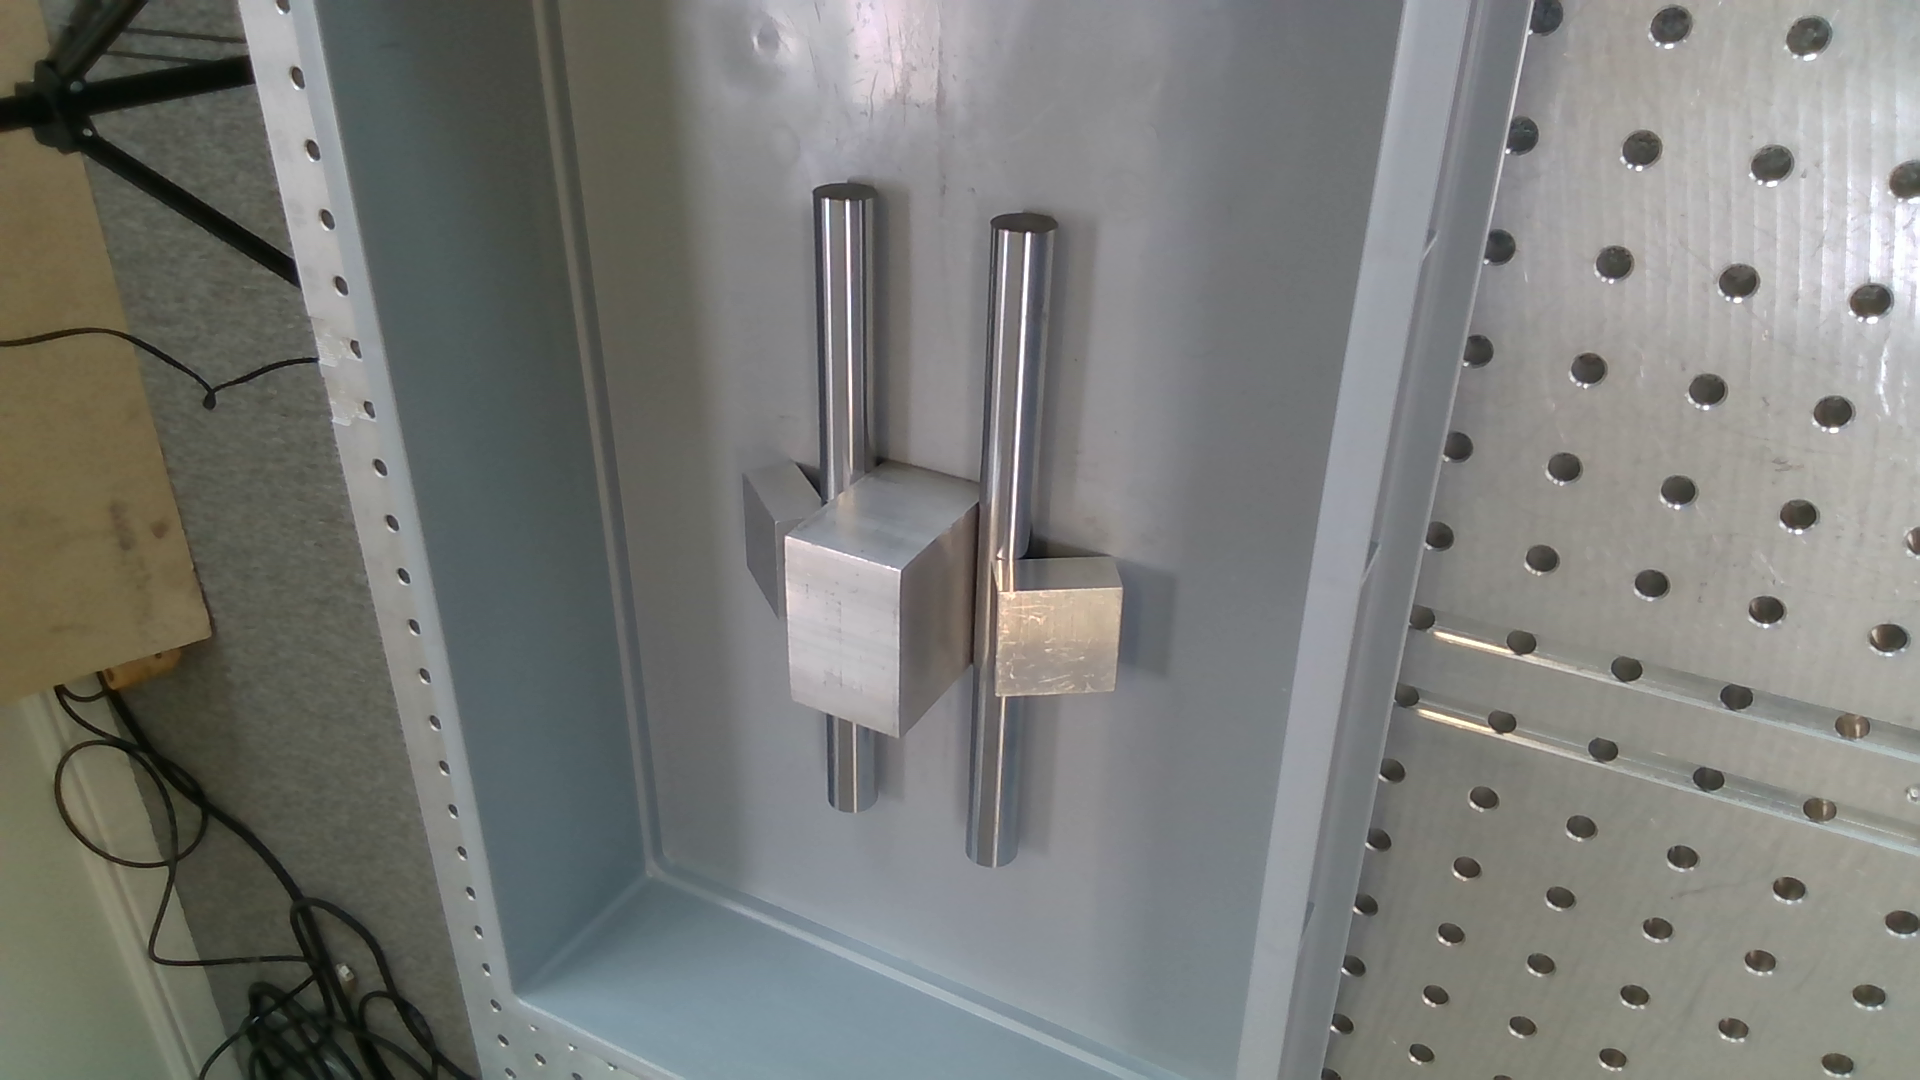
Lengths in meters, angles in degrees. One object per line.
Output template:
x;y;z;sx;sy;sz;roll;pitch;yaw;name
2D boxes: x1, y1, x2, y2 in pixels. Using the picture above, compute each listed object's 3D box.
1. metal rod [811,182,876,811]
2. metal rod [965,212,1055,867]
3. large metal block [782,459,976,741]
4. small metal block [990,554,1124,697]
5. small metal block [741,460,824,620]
-0.049;-0.004;0.607;0.025;0.025;0.301;16;123;24;metal rod
0.018;0.015;0.575;0.025;0.025;0.301;16;123;24;metal rod
-0.028;0.022;0.572;0.050;0.080;0.080;16;122;24;large metal block
0.038;0.035;0.560;0.050;0.025;0.050;-2;120;-6;small metal block
-0.076;-0.001;0.610;0.050;0.025;0.050;-131;36;-51;small metal block
